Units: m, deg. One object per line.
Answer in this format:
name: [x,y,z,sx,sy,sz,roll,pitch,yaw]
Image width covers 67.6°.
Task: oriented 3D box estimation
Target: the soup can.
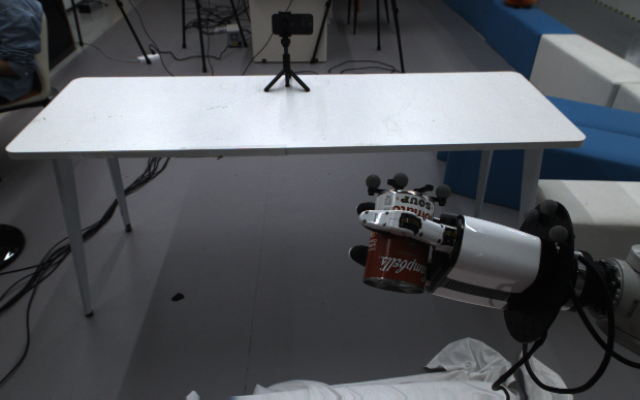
soup can: [0.090,0.046,0.534,0.067,0.067,0.101,8,72,9]
